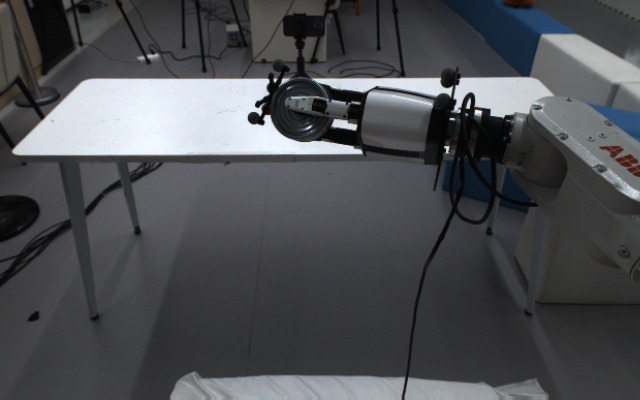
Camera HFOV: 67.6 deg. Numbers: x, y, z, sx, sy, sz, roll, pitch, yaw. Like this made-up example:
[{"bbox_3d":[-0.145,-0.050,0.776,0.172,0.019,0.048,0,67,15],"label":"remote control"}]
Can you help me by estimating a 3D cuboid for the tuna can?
[{"bbox_3d":[-0.021,-0.120,0.659,0.085,0.085,0.034,9,5,10],"label":"tuna can"}]
